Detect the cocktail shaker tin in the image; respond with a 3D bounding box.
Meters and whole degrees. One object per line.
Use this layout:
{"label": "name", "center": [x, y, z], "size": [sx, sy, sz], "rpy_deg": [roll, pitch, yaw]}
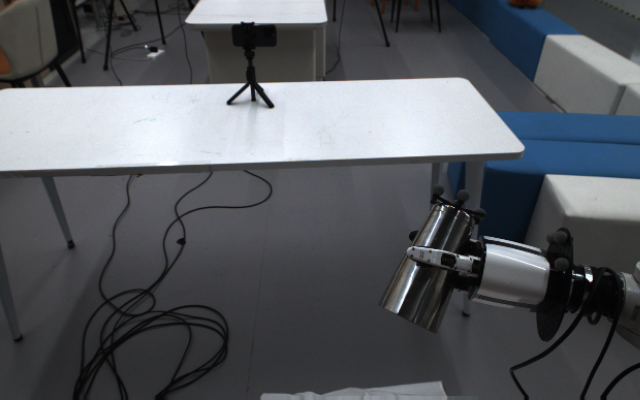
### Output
{"label": "cocktail shaker tin", "center": [0.163, 0.092, 0.701], "size": [0.093, 0.093, 0.170], "rpy_deg": [21, 81, 25]}
